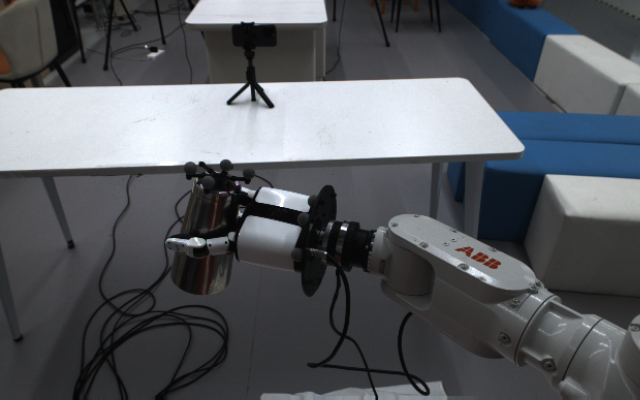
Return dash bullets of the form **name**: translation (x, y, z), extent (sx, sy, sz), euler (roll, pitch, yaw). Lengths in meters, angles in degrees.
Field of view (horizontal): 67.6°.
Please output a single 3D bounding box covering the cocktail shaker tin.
- **cocktail shaker tin**: translation (-0.162, 0.044, 0.715), extent (0.093, 0.170, 0.093), euler (12, 29, -7)
